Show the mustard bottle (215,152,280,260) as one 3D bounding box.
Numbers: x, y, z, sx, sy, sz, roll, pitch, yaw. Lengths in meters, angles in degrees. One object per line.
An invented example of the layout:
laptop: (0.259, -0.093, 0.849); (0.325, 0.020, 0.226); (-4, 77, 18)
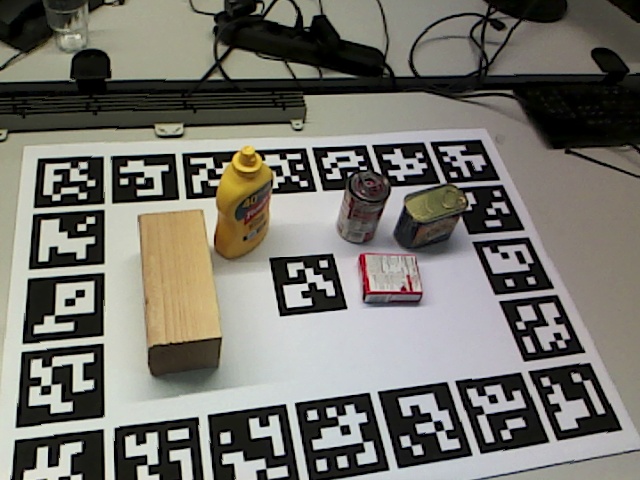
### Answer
mustard bottle: (-0.104, -0.054, 0.896); (0.096, 0.191, 0.059); (-27, 62, -28)

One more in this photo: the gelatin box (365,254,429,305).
gelatin box: (0.116, 0.060, 0.937); (0.089, 0.030, 0.073); (3, 55, -5)

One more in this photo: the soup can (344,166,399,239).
soup can: (0.078, -0.056, 0.968); (0.068, 0.102, 0.068); (4, 55, -6)

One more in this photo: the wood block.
wood block: (-0.185, 0.065, 0.851); (0.091, 0.090, 0.207); (-3, 50, -14)

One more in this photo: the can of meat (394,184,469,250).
can of meat: (0.175, -0.035, 0.991); (0.101, 0.083, 0.058); (-16, 58, -23)
